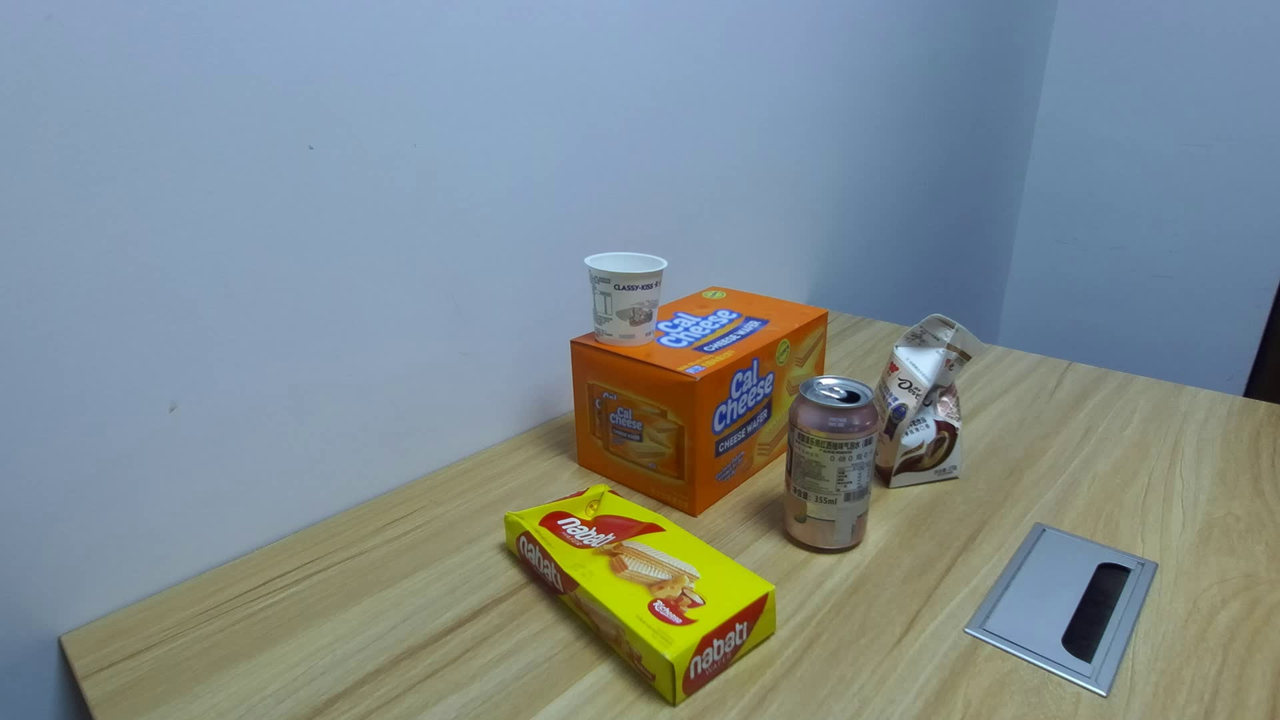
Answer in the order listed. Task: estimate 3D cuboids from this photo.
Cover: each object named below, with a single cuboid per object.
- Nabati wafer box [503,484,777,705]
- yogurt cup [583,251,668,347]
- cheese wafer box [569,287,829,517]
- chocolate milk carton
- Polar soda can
[{"bbox_3d":[-0.008,0.145,0.499,0.097,0.042,0.202,-19,27,-35],"label":"Nabati wafer box"},{"bbox_3d":[-0.012,-0.052,0.613,0.072,0.068,0.072,1,21,0],"label":"yogurt cup"},{"bbox_3d":[0.062,0.026,0.679,0.147,0.129,0.223,17,28,37],"label":"cheese wafer box"},{"bbox_3d":[0.256,0.033,0.634,0.089,0.155,0.076,7,21,-21],"label":"chocolate milk carton"},{"bbox_3d":[0.145,0.079,0.543,0.067,0.125,0.067,0,20,0],"label":"Polar soda can"}]
